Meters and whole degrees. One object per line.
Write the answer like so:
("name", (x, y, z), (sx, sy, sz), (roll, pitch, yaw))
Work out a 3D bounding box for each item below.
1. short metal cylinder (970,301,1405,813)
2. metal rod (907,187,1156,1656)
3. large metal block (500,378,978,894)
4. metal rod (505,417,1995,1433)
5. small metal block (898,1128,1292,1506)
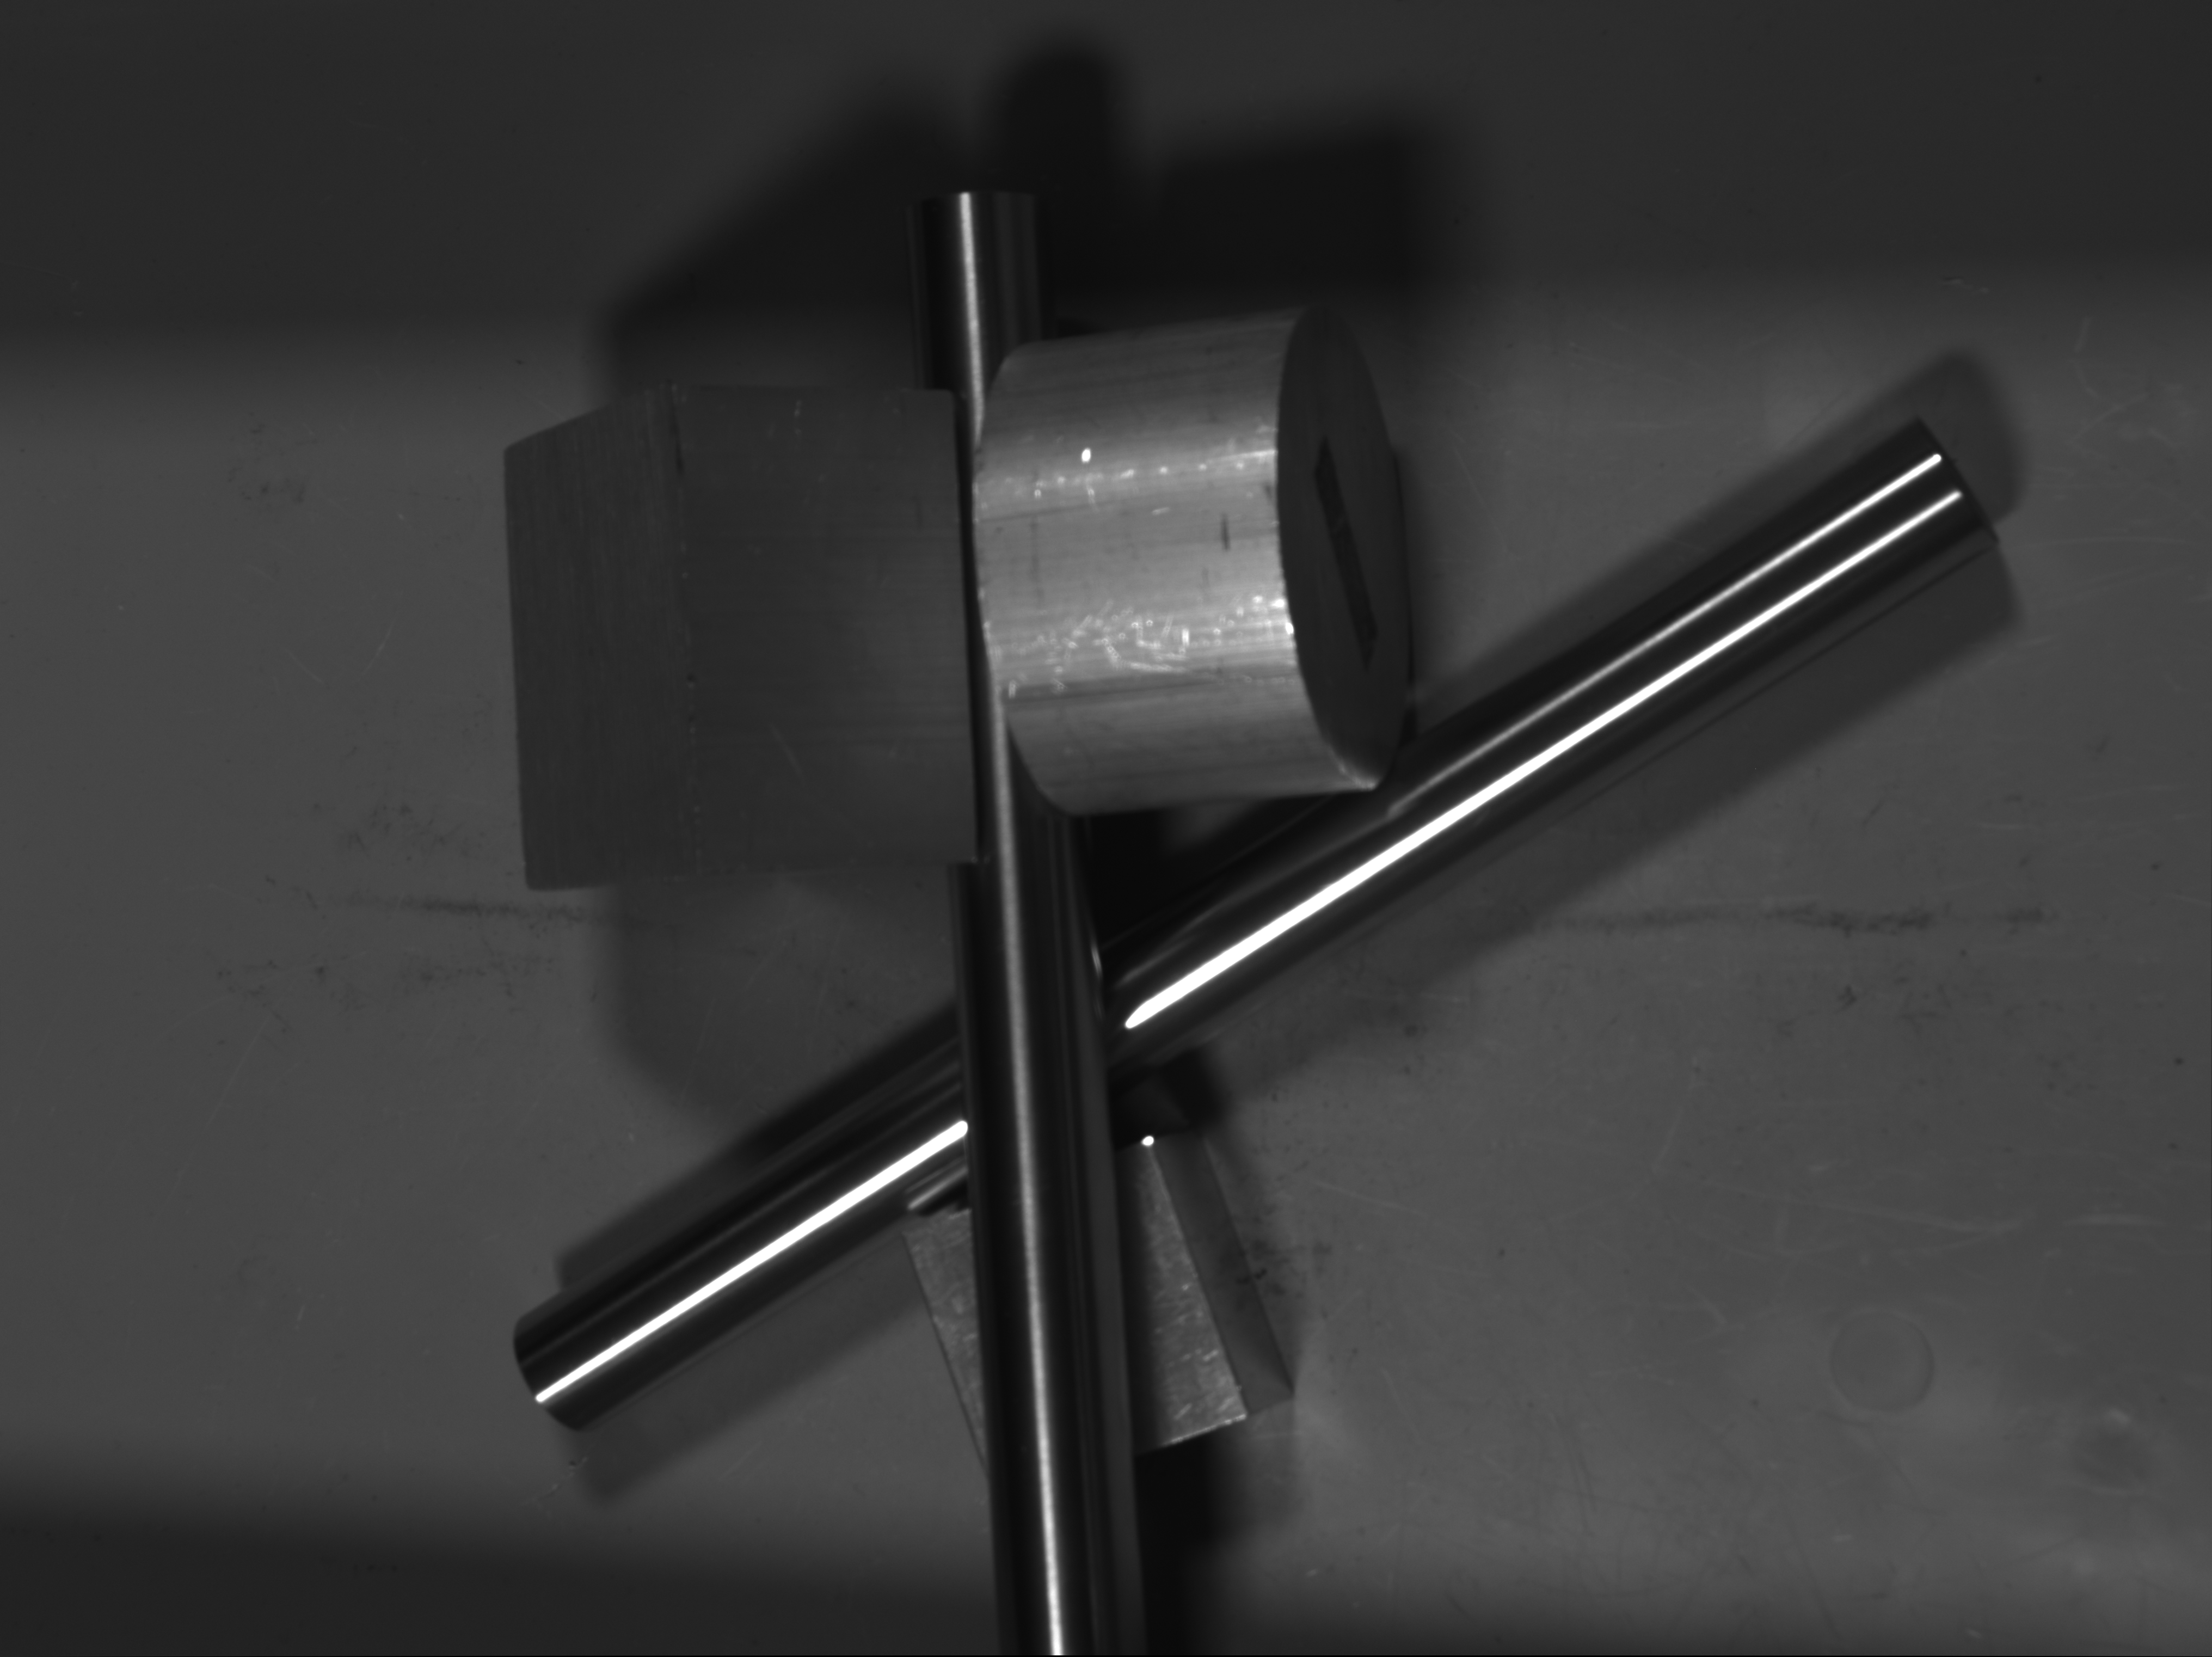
("short metal cylinder", (0.015, -0.044, 0.608), (0.050, 0.080, 0.080), (-5, 88, 18))
("metal rod", (-0.011, 0.043, 0.619), (0.025, 0.025, 0.300), (-5, 87, 20))
("large metal block", (-0.065, -0.031, 0.633), (0.080, 0.050, 0.080), (-6, 87, 60))
("metal rod", (0.017, 0.022, 0.636), (0.300, 0.025, 0.025), (-33, 79, 17))
("small metal block", (-0.002, 0.085, 0.644), (0.050, 0.025, 0.050), (-22, 83, 18))
